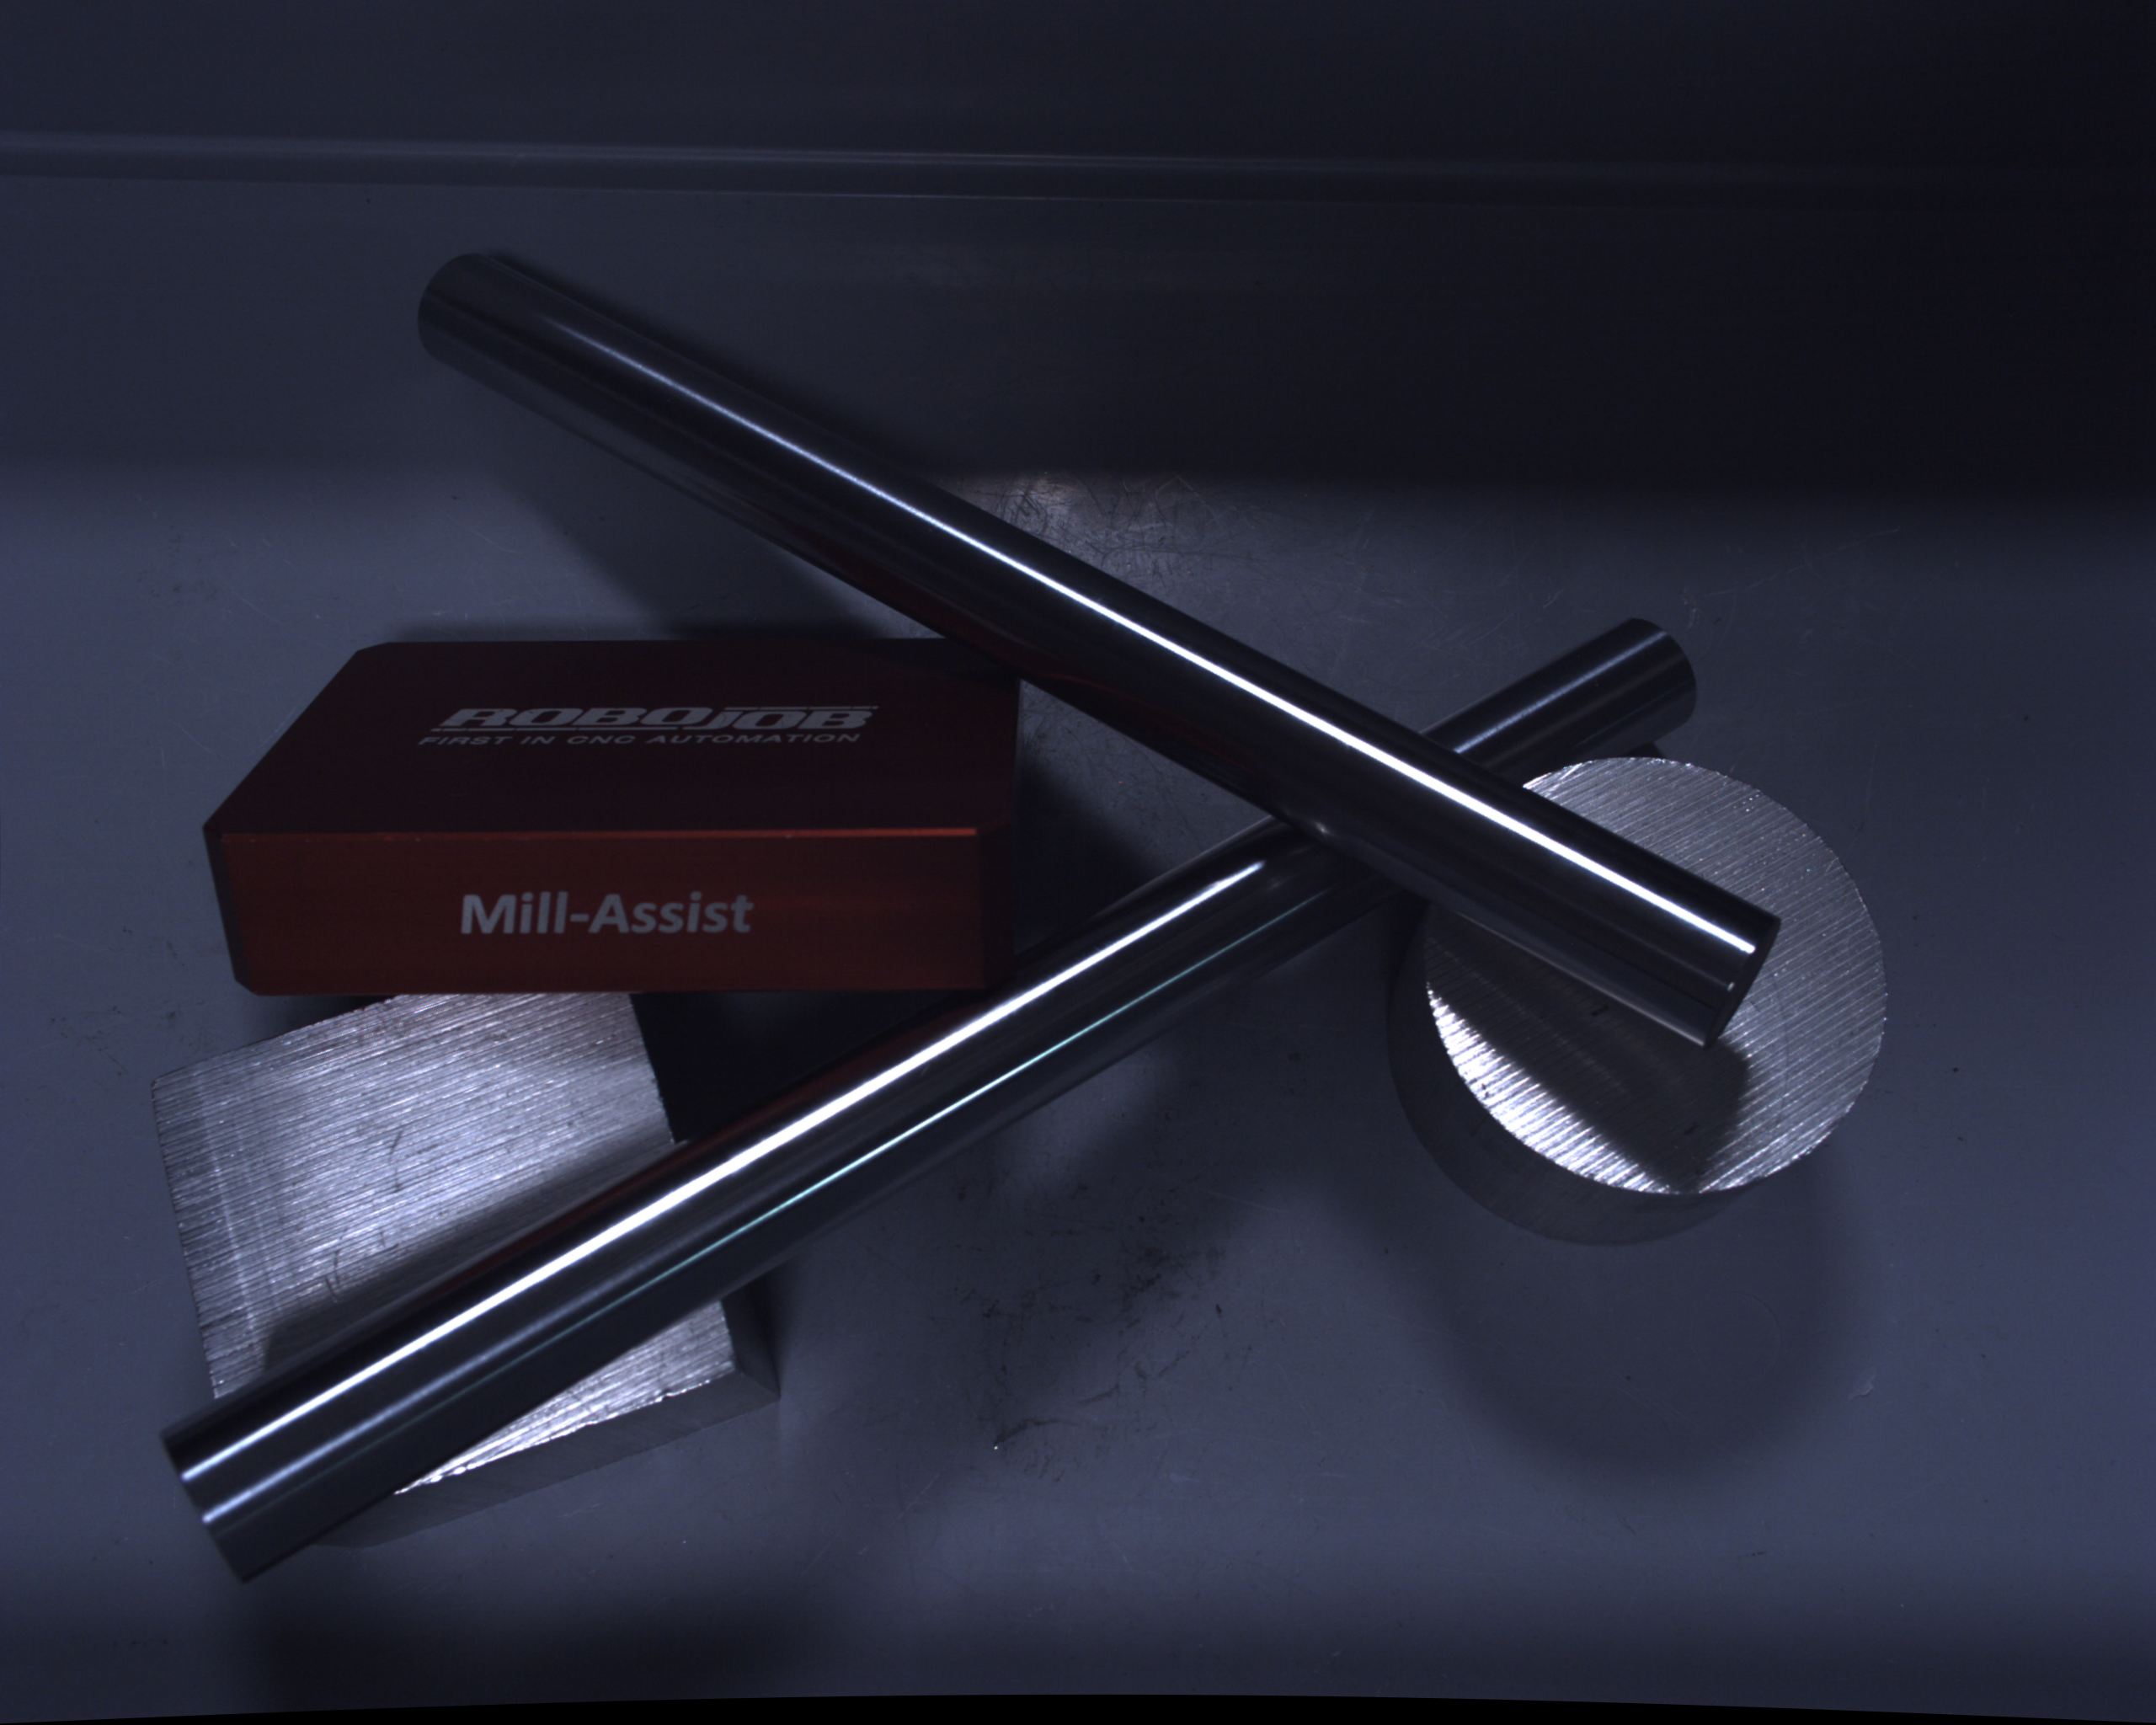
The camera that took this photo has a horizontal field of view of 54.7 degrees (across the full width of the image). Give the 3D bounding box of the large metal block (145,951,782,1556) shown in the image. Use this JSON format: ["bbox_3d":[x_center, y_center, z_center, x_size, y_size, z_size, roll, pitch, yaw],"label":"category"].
[{"bbox_3d":[-0.105,0.068,0.365,0.081,0.050,0.080,-18,71,-7],"label":"large metal block"}]

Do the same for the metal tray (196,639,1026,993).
[{"bbox_3d":[-0.077,-0.011,0.379,0.131,0.030,0.090,0,26,1],"label":"metal tray"}]

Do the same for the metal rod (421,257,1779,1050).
[{"bbox_3d":[-0.013,-0.050,0.395,0.300,0.025,0.025,30,72,23],"label":"metal rod"}]

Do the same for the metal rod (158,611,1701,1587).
[{"bbox_3d":[-0.004,0.026,0.359,0.302,0.025,0.025,-29,72,-25],"label":"metal rod"}]

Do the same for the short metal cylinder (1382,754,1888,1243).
[{"bbox_3d":[0.100,0.026,0.385,0.081,0.050,0.080,0,70,0],"label":"short metal cylinder"}]
